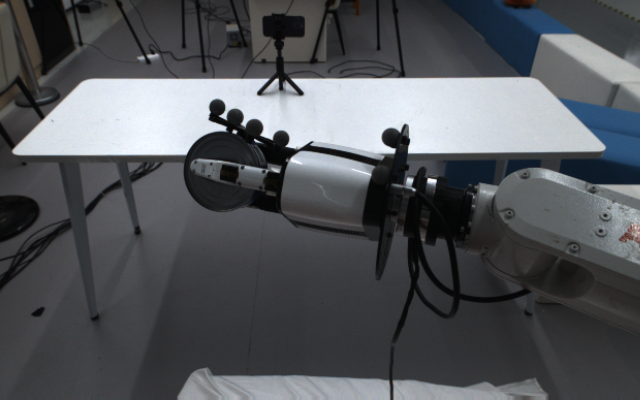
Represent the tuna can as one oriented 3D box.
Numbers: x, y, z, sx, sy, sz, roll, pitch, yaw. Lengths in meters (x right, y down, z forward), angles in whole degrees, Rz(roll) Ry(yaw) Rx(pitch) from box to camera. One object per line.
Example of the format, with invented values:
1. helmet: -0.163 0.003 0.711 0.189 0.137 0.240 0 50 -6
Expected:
1. tuna can: -0.100 -0.031 0.528 0.085 0.085 0.034 10 4 11
